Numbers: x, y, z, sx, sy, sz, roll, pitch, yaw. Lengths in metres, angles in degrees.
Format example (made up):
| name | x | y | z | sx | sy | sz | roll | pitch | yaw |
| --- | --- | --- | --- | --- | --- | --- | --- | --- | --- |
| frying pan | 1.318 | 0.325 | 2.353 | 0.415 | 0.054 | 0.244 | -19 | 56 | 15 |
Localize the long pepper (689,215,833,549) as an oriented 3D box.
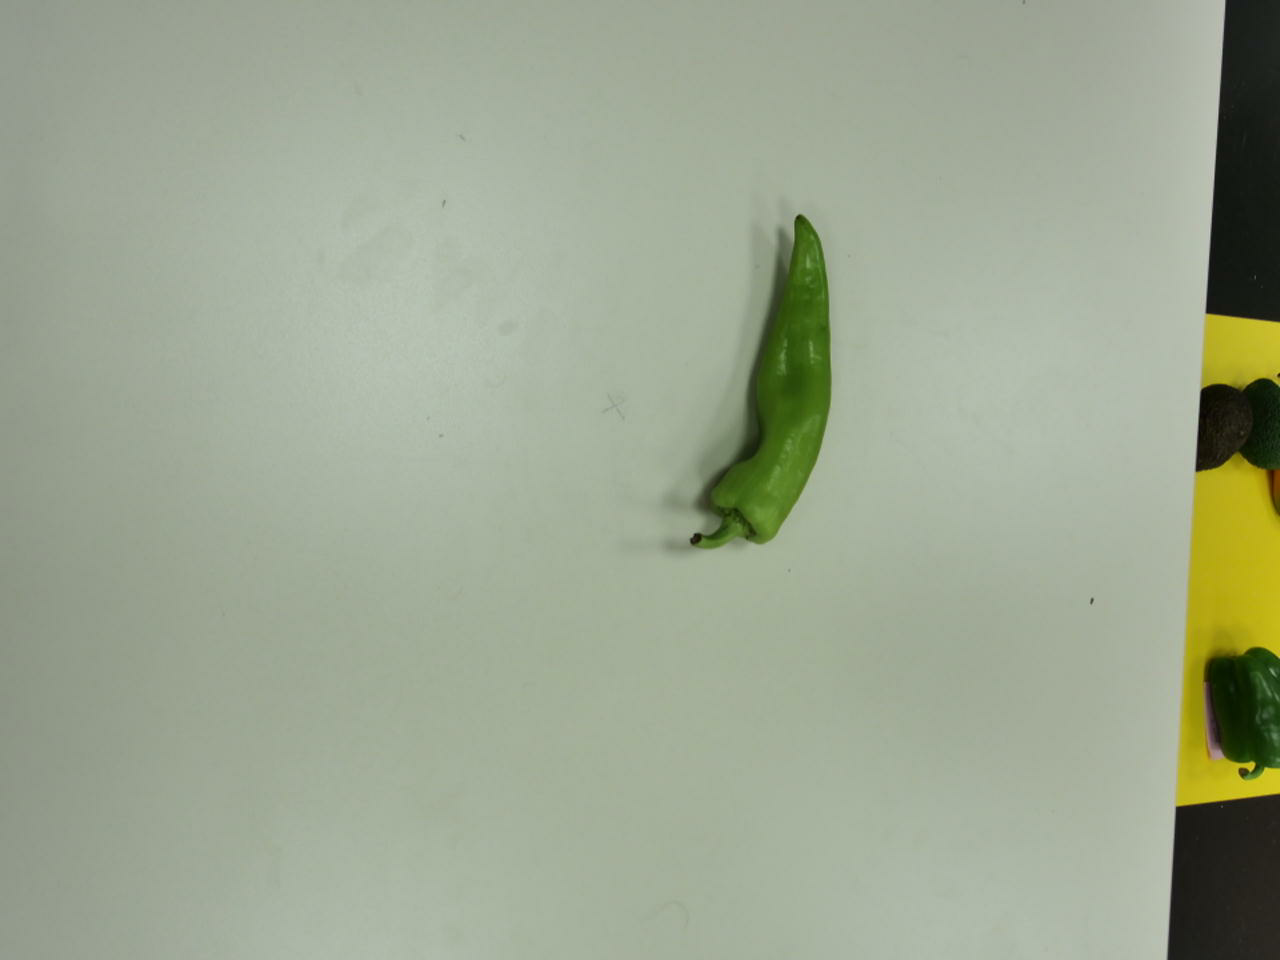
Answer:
| name | x | y | z | sx | sy | sz | roll | pitch | yaw |
| --- | --- | --- | --- | --- | --- | --- | --- | --- | --- |
| long pepper | 0.085 | -0.050 | 0.582 | 0.065 | 0.045 | 0.204 | 23 | 82 | -21 |
